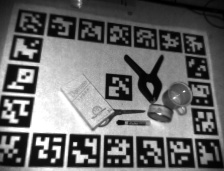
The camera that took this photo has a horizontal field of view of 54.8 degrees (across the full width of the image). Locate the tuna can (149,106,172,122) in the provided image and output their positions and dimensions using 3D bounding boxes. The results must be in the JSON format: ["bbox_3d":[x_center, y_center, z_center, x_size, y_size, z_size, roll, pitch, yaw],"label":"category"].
[{"bbox_3d":[0.174,0.100,0.760,0.086,0.085,0.034,19,69,-5],"label":"tuna can"}]

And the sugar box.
[{"bbox_3d":[-0.079,0.063,0.730,0.093,0.045,0.175,-34,76,-21],"label":"sugar box"}]

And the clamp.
[{"bbox_3d":[0.136,-0.028,0.830,0.166,0.036,0.202,-7,75,-15],"label":"clamp"}]

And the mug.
[{"bbox_3d":[0.232,0.054,0.794,0.094,0.081,0.116,-24,75,-19],"label":"mug"}]

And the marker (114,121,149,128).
[{"bbox_3d":[0.068,0.137,0.759,0.122,0.019,0.019,-1,73,-13],"label":"marker"}]

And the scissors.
[{"bbox_3d":[0.024,0.095,0.760,0.204,0.016,0.087,-7,70,-17],"label":"scissors"}]
